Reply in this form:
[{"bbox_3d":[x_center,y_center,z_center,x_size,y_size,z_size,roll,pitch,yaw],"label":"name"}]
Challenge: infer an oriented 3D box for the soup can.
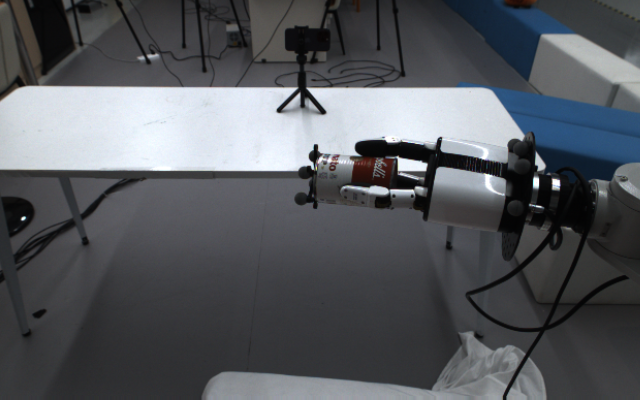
[{"bbox_3d":[0.050,-0.026,0.638,0.101,0.067,0.067,5,34,13],"label":"soup can"}]
